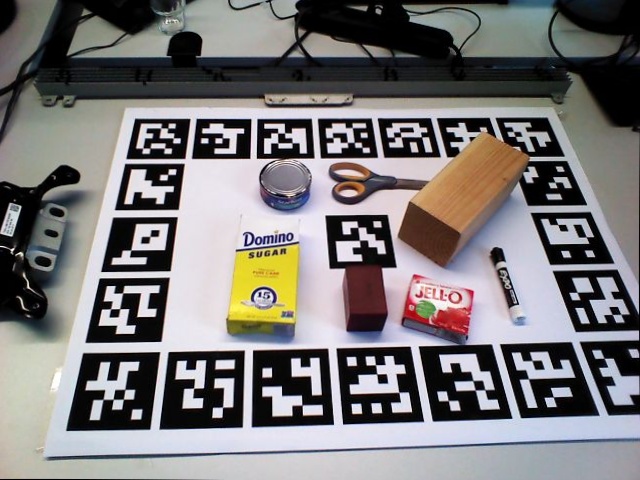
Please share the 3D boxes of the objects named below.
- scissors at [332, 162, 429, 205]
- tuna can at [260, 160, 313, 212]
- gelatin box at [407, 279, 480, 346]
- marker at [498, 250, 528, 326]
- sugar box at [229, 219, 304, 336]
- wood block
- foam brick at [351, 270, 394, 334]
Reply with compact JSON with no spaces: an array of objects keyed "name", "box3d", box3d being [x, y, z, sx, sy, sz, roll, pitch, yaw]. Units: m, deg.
[{"name":"scissors","box3d":[0.119,-0.091,0.867,0.203,0.016,0.087,4,56,4]},{"name":"tuna can","box3d":[-0.054,-0.088,0.846,0.086,0.034,0.085,1,56,-1]},{"name":"gelatin box","box3d":[0.174,0.100,0.729,0.089,0.030,0.073,15,57,9]},{"name":"marker","box3d":[0.282,0.068,0.759,0.020,0.020,0.120,0,58,-2]},{"name":"sugar box","box3d":[-0.073,0.051,0.749,0.093,0.045,0.175,3,56,-1]},{"name":"wood block","box3d":[0.239,-0.060,0.808,0.090,0.091,0.205,37,61,22]},{"name":"foam brick","box3d":[0.070,0.086,0.718,0.053,0.051,0.077,0,56,-1]}]
